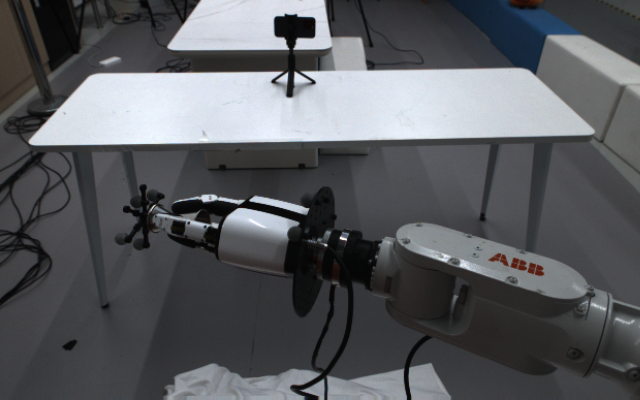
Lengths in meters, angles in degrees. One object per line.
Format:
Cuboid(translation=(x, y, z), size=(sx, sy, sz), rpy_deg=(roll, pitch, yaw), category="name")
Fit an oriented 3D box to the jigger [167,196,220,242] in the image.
Cuboid(translation=(-0.177, 0.025, 0.627), size=(0.071, 0.043, 0.043), rpy_deg=(7, 35, 15), category="jigger")
